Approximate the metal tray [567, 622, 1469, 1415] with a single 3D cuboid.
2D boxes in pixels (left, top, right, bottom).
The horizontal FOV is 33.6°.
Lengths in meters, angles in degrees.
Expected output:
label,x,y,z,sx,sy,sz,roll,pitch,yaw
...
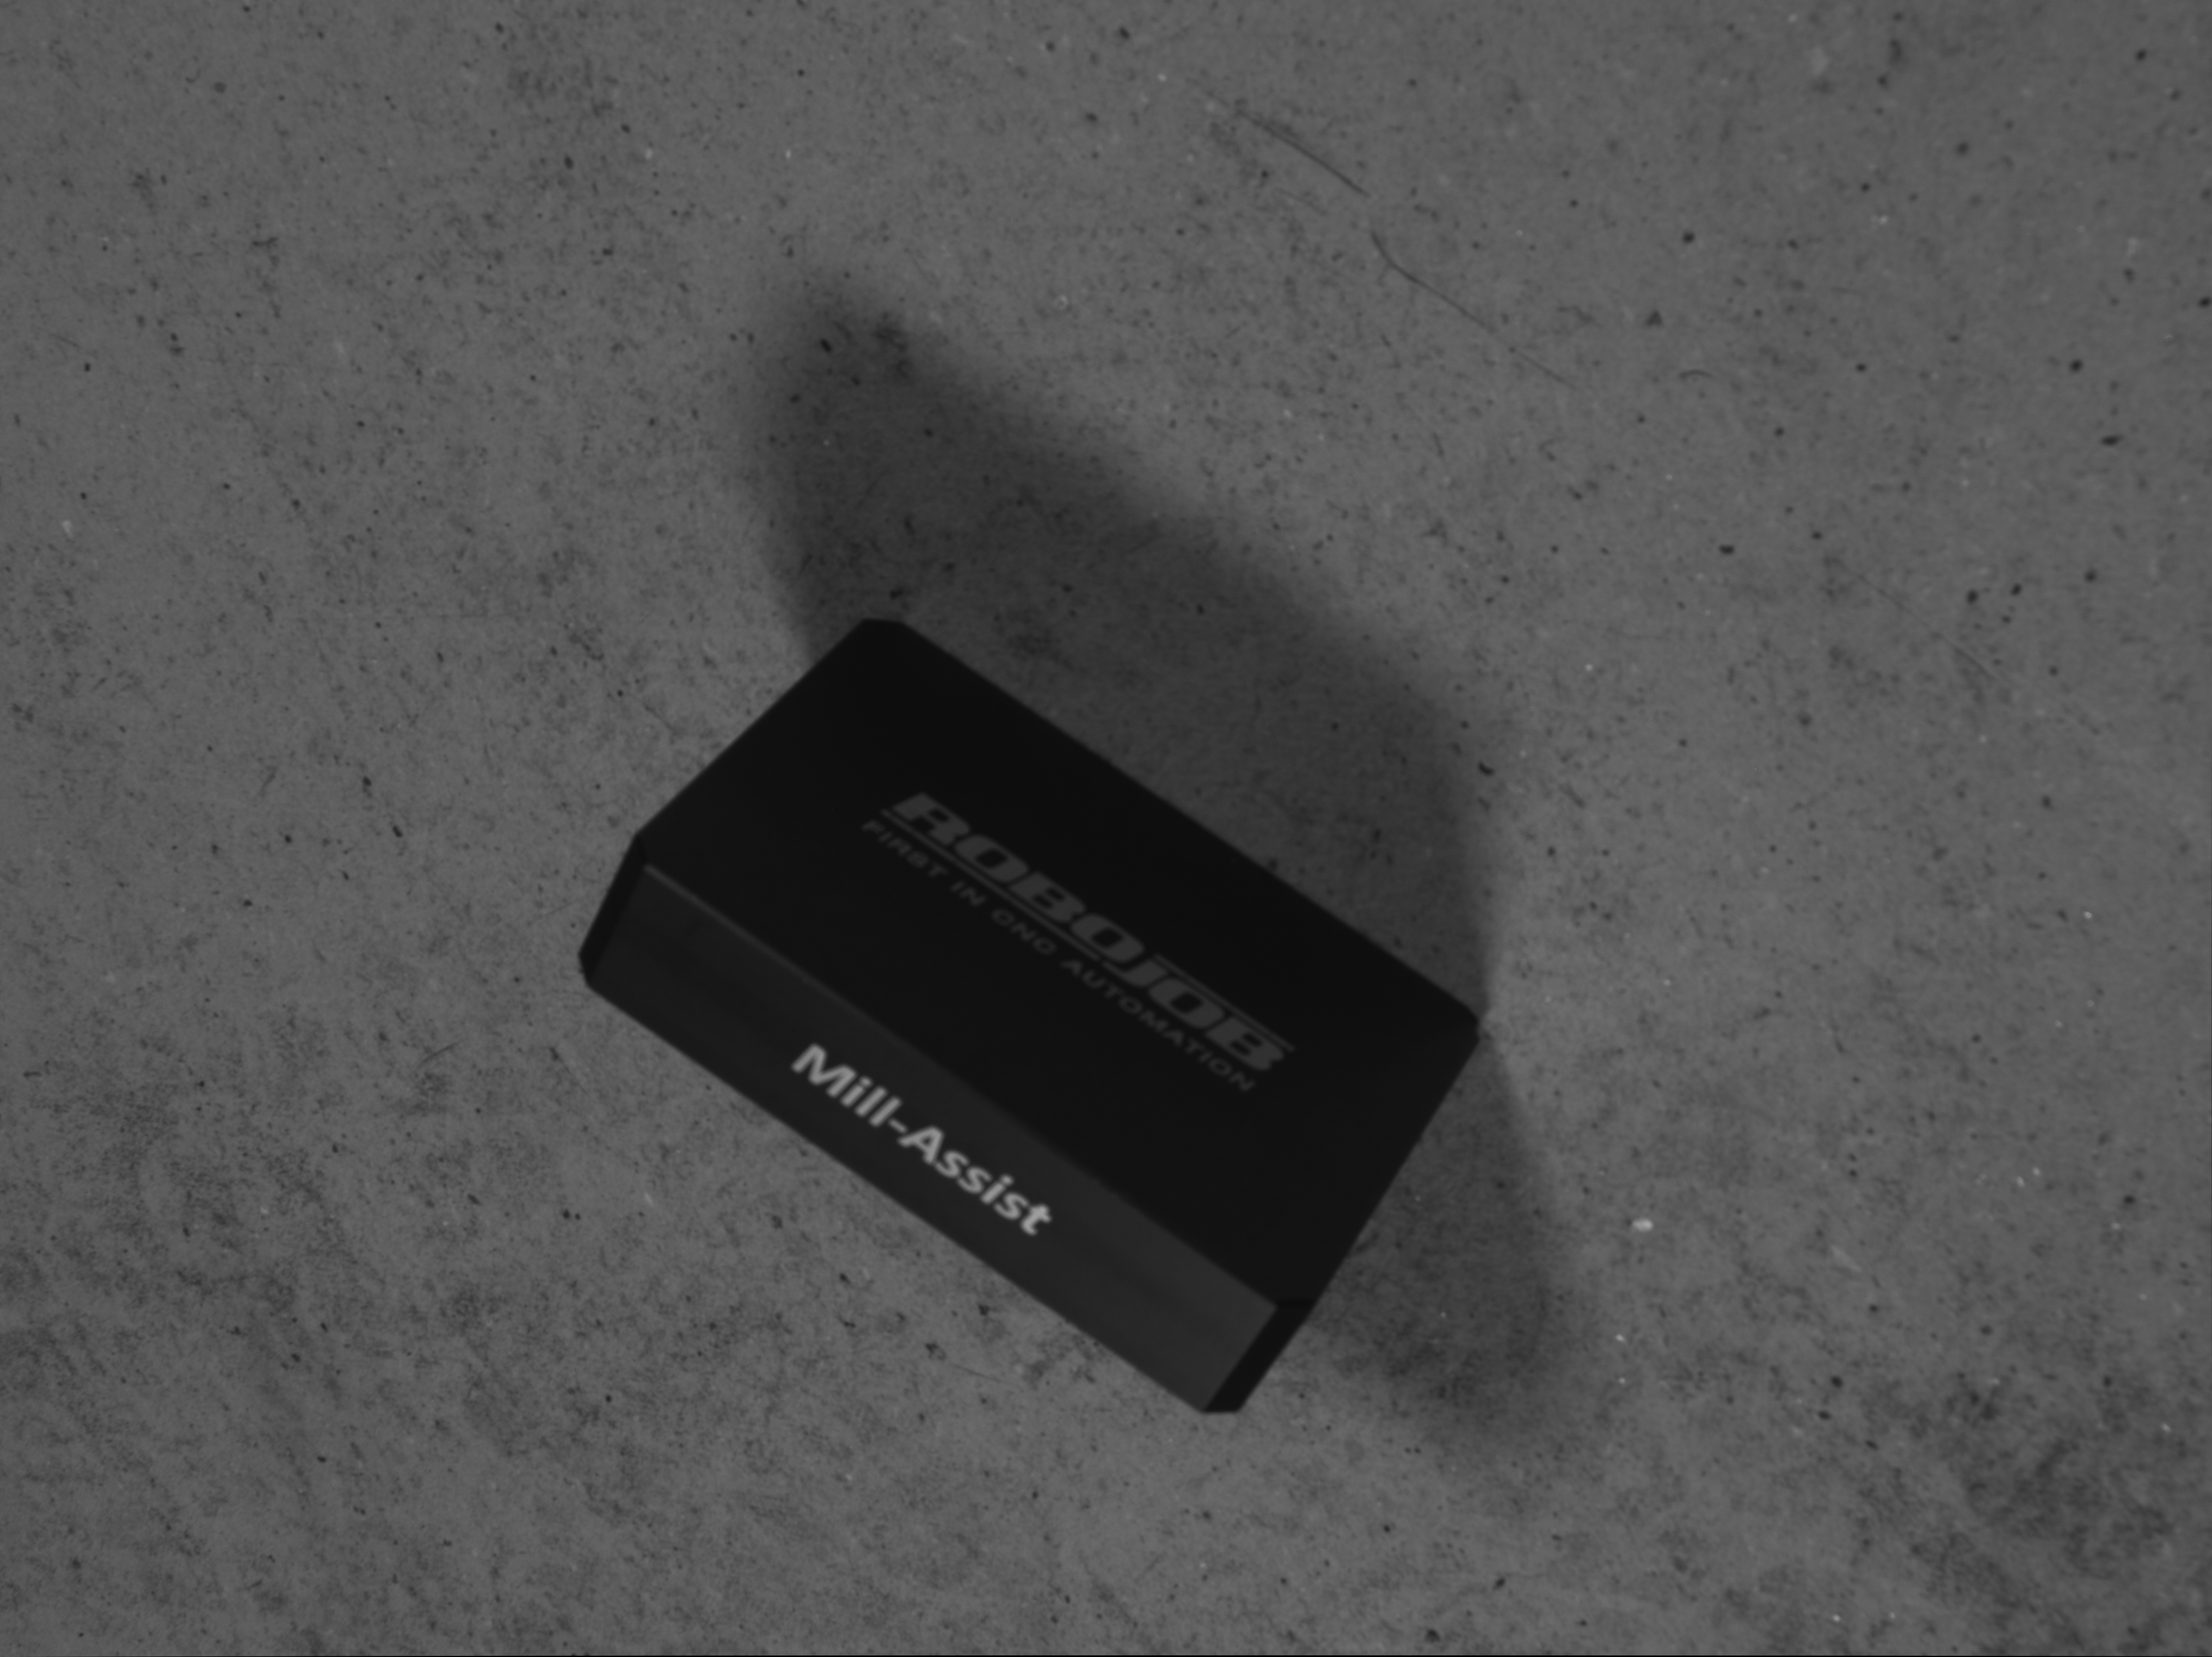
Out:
label,x,y,z,sx,sy,sz,roll,pitch,yaw
metal tray,-0.013,0.029,0.613,0.130,0.090,0.030,34,128,4
